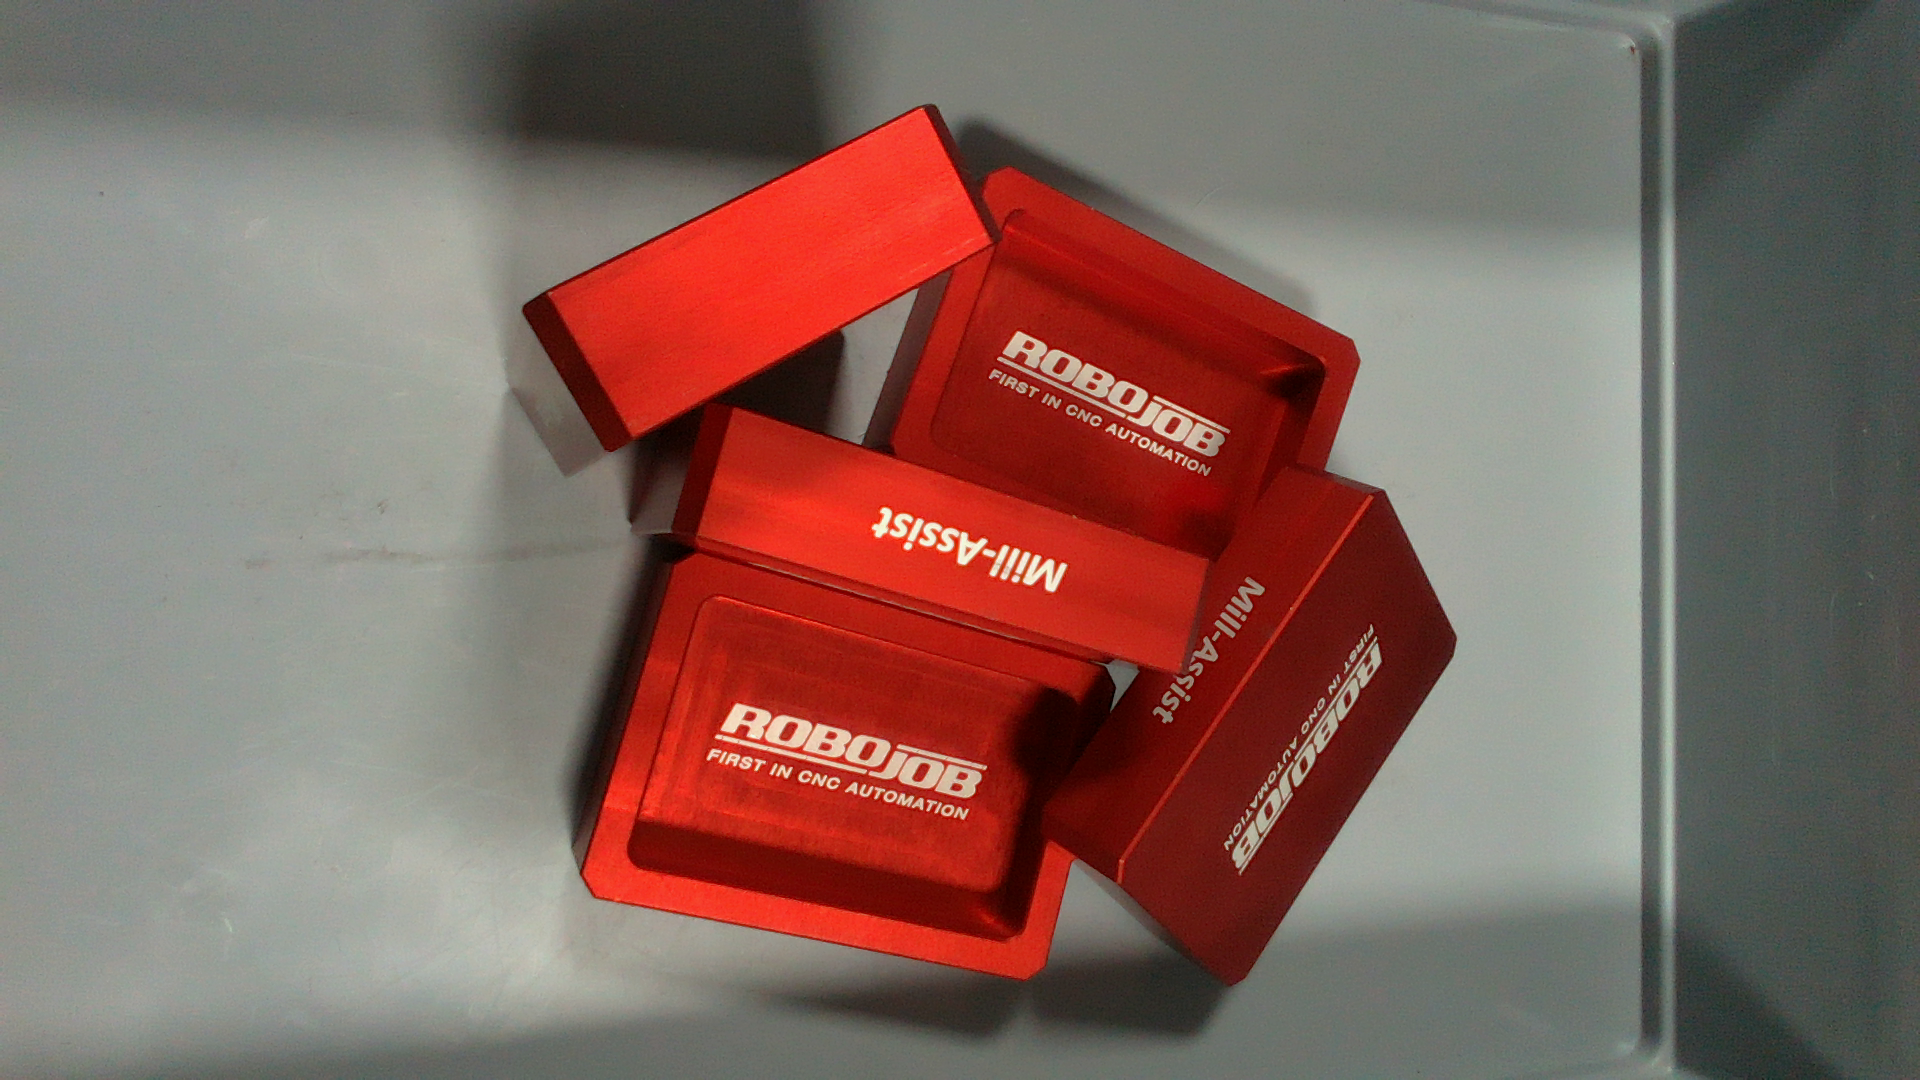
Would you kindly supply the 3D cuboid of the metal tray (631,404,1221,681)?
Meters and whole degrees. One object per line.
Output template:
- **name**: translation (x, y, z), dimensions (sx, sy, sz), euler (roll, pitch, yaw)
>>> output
- **metal tray**: translation (-0.012, 0.002, 0.352), dimensions (0.130, 0.090, 0.030), euler (17, 85, -19)

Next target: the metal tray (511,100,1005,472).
- **metal tray**: translation (-0.054, -0.052, 0.316), dimensions (0.090, 0.130, 0.030), euler (-32, 101, -16)

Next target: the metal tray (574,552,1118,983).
- **metal tray**: translation (-0.029, 0.063, 0.377), dimensions (0.130, 0.030, 0.090), euler (17, 84, -19)

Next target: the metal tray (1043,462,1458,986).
- **metal tray**: translation (0.089, 0.054, 0.401), dimensions (0.130, 0.030, 0.090), euler (-53, 134, -12)

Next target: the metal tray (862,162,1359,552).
- **metal tray**: translation (0.046, -0.041, 0.406), dimensions (0.130, 0.030, 0.090), euler (22, 83, -19)
